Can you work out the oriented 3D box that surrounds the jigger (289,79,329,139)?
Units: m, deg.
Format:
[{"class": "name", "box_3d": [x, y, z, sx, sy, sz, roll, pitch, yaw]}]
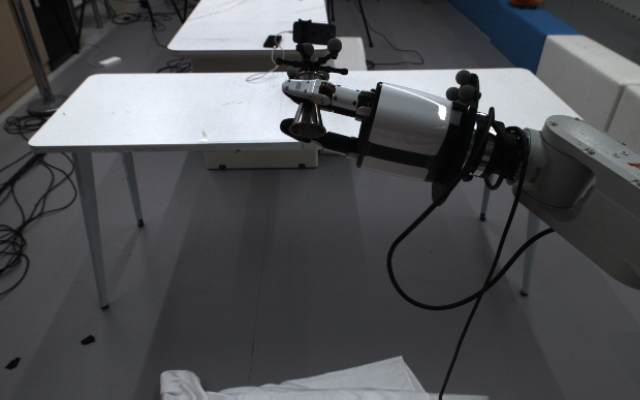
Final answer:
[{"class": "jigger", "box_3d": [-0.014, -0.114, 0.580, 0.043, 0.043, 0.071, 3, 75, 1]}]
